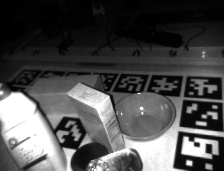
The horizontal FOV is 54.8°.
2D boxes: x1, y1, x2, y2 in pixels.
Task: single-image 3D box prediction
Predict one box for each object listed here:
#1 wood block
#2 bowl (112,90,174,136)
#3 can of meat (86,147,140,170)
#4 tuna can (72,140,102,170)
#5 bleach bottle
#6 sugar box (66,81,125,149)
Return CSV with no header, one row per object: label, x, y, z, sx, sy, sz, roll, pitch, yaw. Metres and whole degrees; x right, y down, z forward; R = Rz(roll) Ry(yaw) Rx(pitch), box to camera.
wood block,-0.148,0.021,0.668,0.205,0.090,0.091,-3,44,13
bowl,0.079,0.074,0.555,0.161,0.056,0.161,-11,36,9
can of meat,0.008,0.174,0.436,0.102,0.084,0.057,-16,35,-4
tuna can,-0.060,0.167,0.495,0.085,0.034,0.085,-9,41,9
bleach bottle,-0.181,0.097,0.448,0.102,0.253,0.067,-14,37,1
sugar box,-0.034,0.075,0.486,0.091,0.178,0.045,18,50,39
